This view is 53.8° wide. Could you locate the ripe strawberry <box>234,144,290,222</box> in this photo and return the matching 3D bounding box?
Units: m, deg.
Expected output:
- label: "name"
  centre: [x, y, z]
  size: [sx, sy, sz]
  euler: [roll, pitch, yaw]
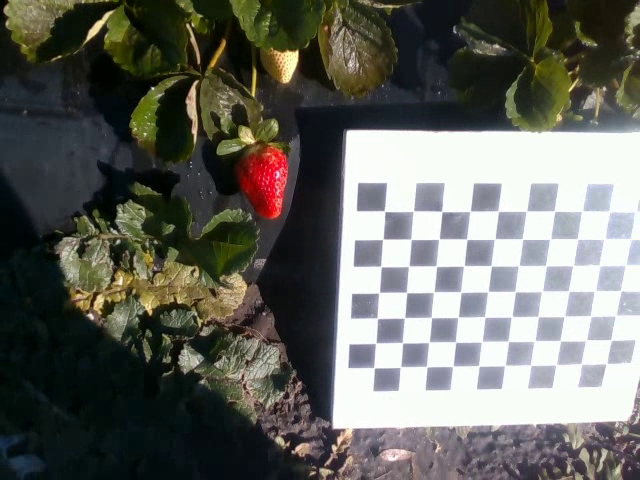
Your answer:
- label: "ripe strawberry"
  centre: [-0.044, -0.045, 0.497]
  size: [0.048, 0.069, 0.040]
  euler: [-17, 11, 0]
